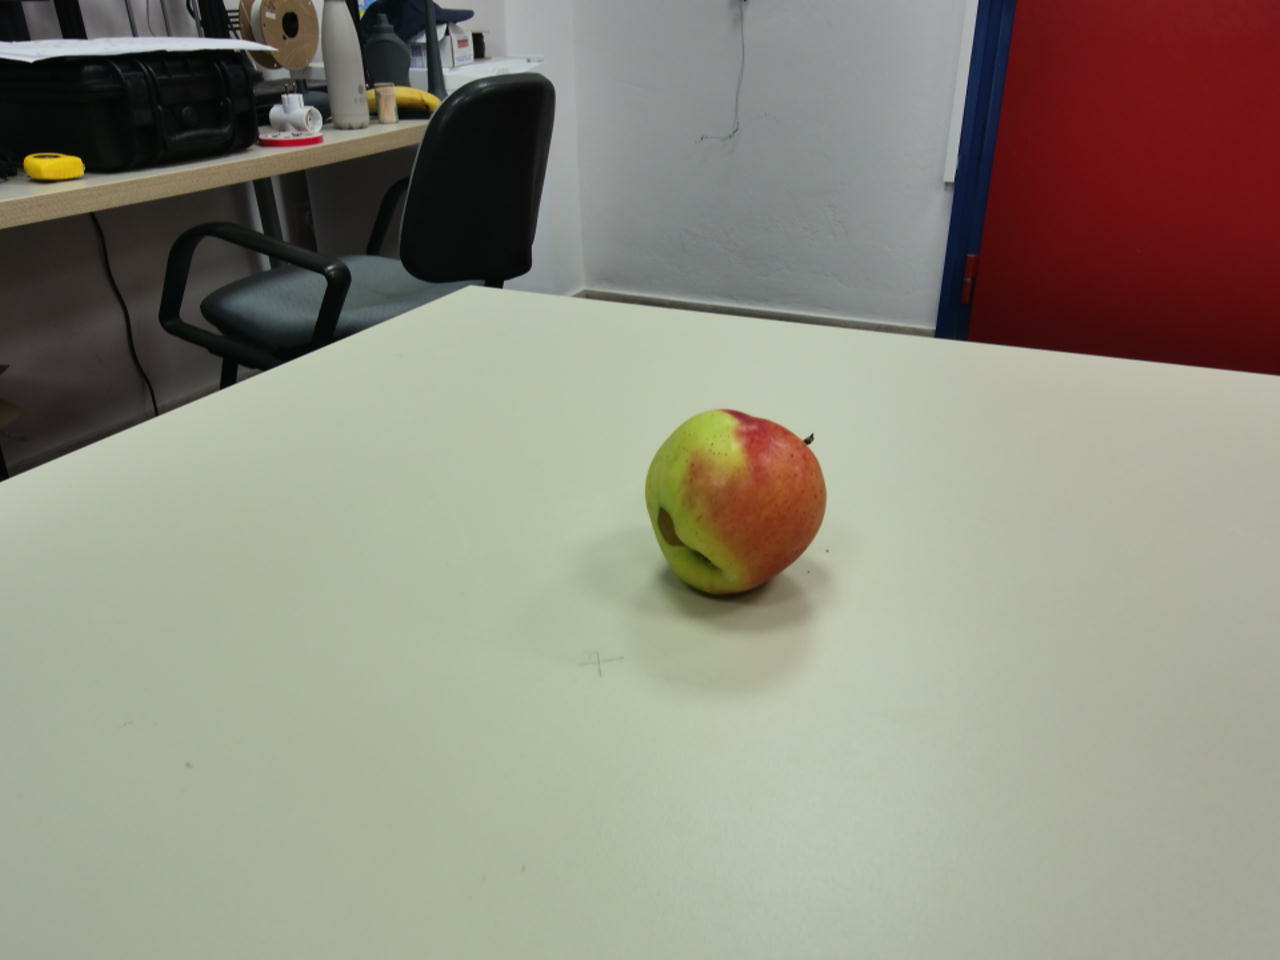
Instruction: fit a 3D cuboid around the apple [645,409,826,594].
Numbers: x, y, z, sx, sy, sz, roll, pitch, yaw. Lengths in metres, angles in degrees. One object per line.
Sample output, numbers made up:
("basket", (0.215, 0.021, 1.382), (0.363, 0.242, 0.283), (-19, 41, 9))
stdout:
("apple", (0.038, 0.010, 0.418), (0.075, 0.074, 0.075), (2, 23, 6))
